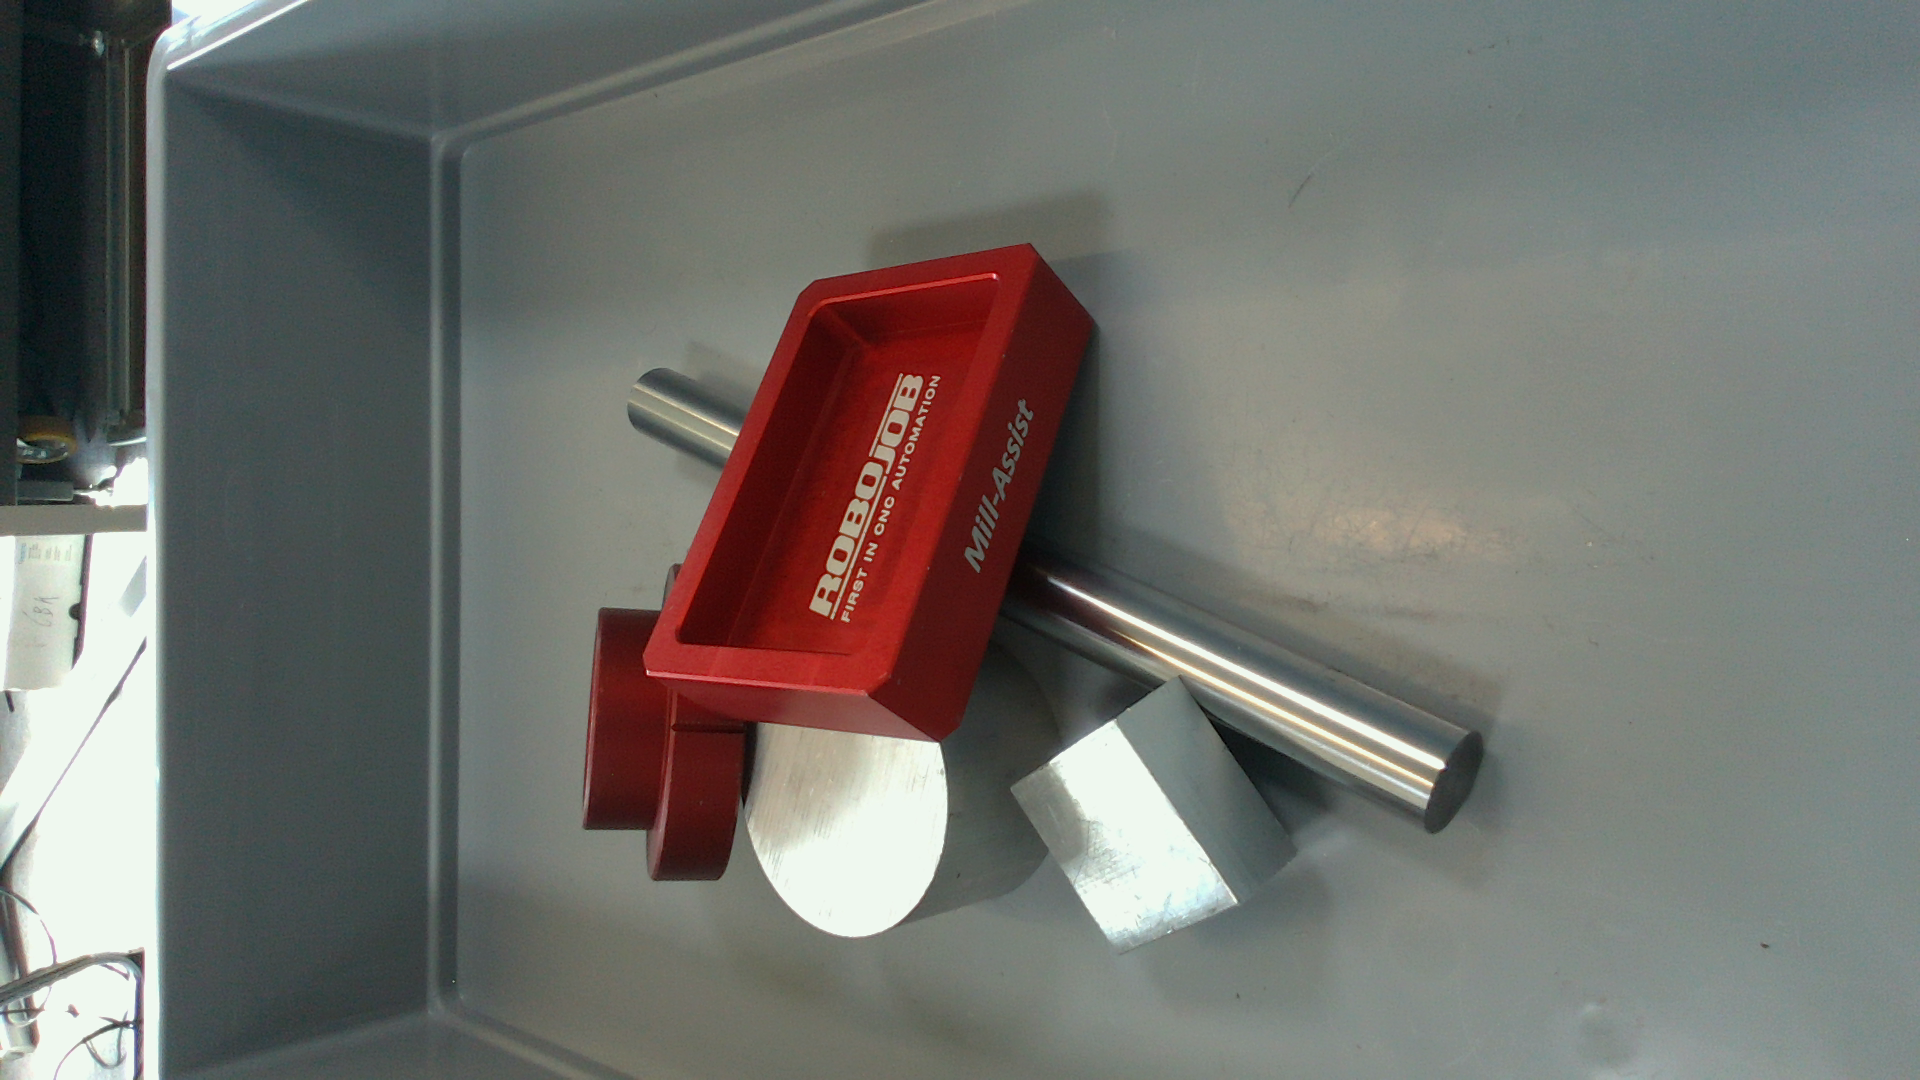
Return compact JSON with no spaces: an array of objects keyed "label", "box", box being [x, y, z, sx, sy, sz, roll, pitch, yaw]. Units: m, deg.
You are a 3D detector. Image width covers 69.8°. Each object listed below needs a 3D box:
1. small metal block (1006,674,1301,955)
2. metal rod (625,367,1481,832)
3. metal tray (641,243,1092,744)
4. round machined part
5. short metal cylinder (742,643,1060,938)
[{"label":"small metal block","box":[0.046,0.069,0.340,0.050,0.025,0.050,55,140,8]},{"label":"metal rod","box":[0.001,0.002,0.393,0.299,0.025,0.025,25,106,37]},{"label":"metal tray","box":[-0.025,-0.014,0.372,0.090,0.030,0.130,0,61,39]},{"label":"round machined part","box":[-0.094,0.056,0.431,0.098,0.042,0.098,-175,90,-73]},{"label":"short metal cylinder","box":[-0.017,0.067,0.391,0.080,0.050,0.080,0,90,40]}]
